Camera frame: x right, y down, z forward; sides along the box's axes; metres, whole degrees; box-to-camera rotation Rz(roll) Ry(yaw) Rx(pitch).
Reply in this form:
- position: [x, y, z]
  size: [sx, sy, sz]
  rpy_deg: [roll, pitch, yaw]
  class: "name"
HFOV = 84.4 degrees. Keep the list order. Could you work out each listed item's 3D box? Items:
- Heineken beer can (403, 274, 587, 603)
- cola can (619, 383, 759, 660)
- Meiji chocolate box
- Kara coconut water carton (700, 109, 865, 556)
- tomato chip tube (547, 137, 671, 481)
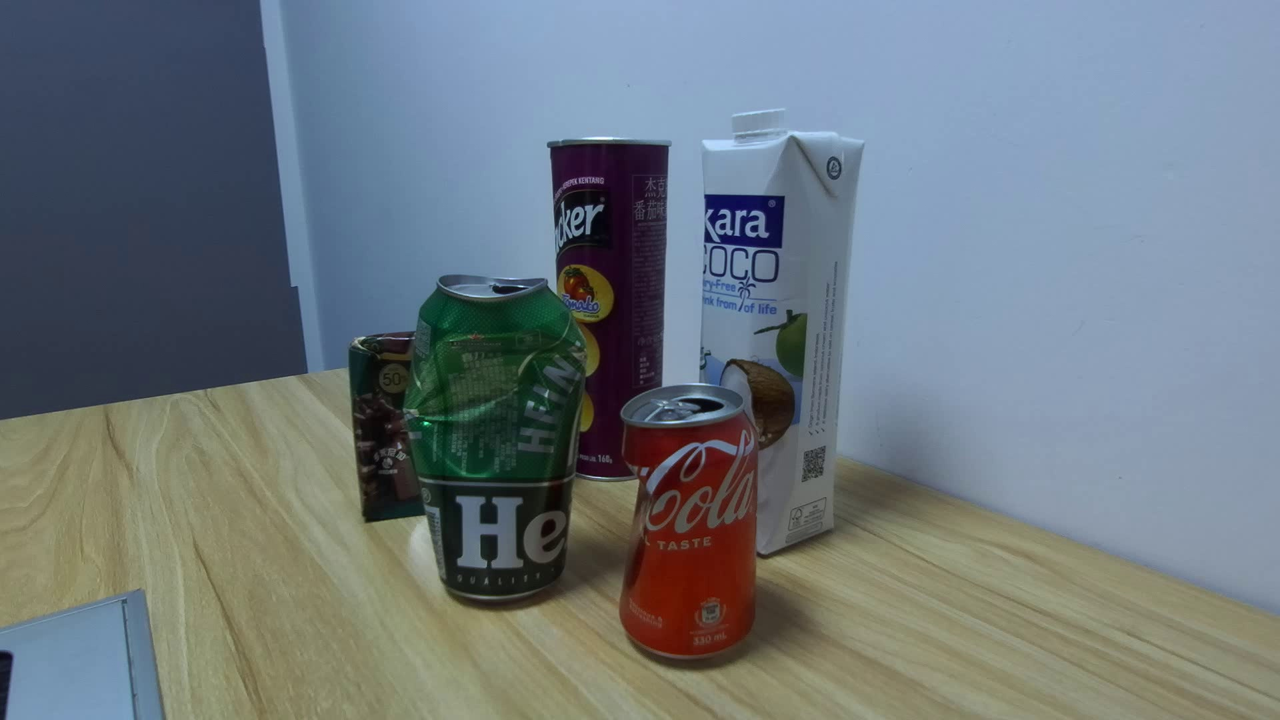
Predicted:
- position: [-0.076, 0.041, 0.365]
  size: [0.077, 0.164, 0.066]
  rpy_deg: [14, 20, 38]
  class: "Heineken beer can"
- position: [0.024, 0.081, 0.336]
  size: [0.065, 0.117, 0.072]
  rpy_deg: [1, 7, 5]
  class: "cola can"
- position: [-0.127, 0.041, 0.461]
  size: [0.113, 0.110, 0.058]
  rpy_deg: [-1, 15, -4]
  class: "Meiji chocolate box"
- position: [0.076, -0.015, 0.414]
  size: [0.076, 0.245, 0.076]
  rpy_deg: [-9, 16, -35]
  class: "Kara coconut water carton"
- position: [-0.020, -0.035, 0.511]
  size: [0.077, 0.234, 0.080]
  rpy_deg: [-5, 14, -20]
  class: "tomato chip tube"
